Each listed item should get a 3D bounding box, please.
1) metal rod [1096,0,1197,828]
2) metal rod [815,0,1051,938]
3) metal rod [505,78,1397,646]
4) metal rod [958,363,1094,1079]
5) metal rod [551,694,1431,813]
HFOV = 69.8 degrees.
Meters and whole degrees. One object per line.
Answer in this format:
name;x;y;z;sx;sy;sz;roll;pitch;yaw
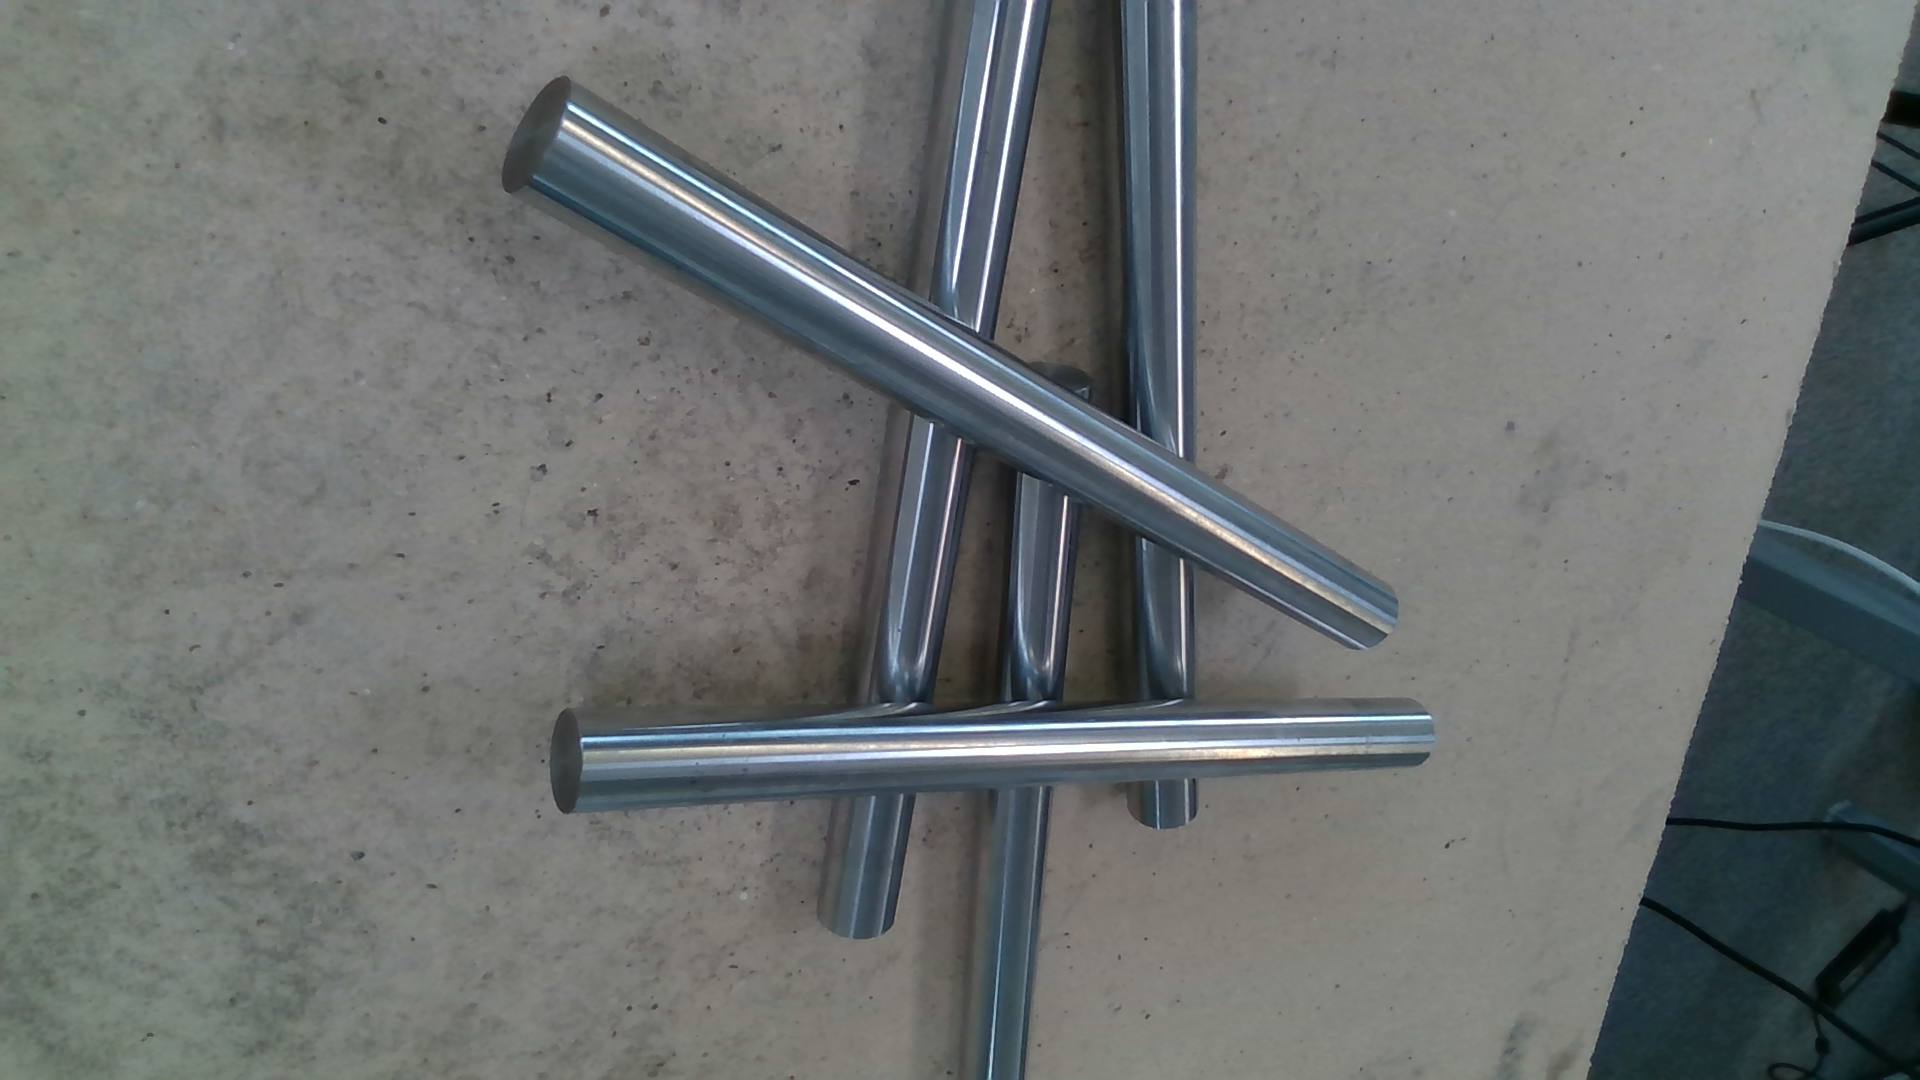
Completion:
metal rod;0.057;-0.036;0.406;0.025;0.025;0.301;-20;124;-22
metal rod;-0.010;-0.019;0.374;0.025;0.025;0.301;-4;117;-30
metal rod;0.025;-0.027;0.359;0.301;0.025;0.025;25;100;-38
metal rod;0.017;0.089;0.449;0.025;0.025;0.301;-12;120;-26
metal rod;0.032;0.060;0.410;0.300;0.025;0.025;3;113;-33
